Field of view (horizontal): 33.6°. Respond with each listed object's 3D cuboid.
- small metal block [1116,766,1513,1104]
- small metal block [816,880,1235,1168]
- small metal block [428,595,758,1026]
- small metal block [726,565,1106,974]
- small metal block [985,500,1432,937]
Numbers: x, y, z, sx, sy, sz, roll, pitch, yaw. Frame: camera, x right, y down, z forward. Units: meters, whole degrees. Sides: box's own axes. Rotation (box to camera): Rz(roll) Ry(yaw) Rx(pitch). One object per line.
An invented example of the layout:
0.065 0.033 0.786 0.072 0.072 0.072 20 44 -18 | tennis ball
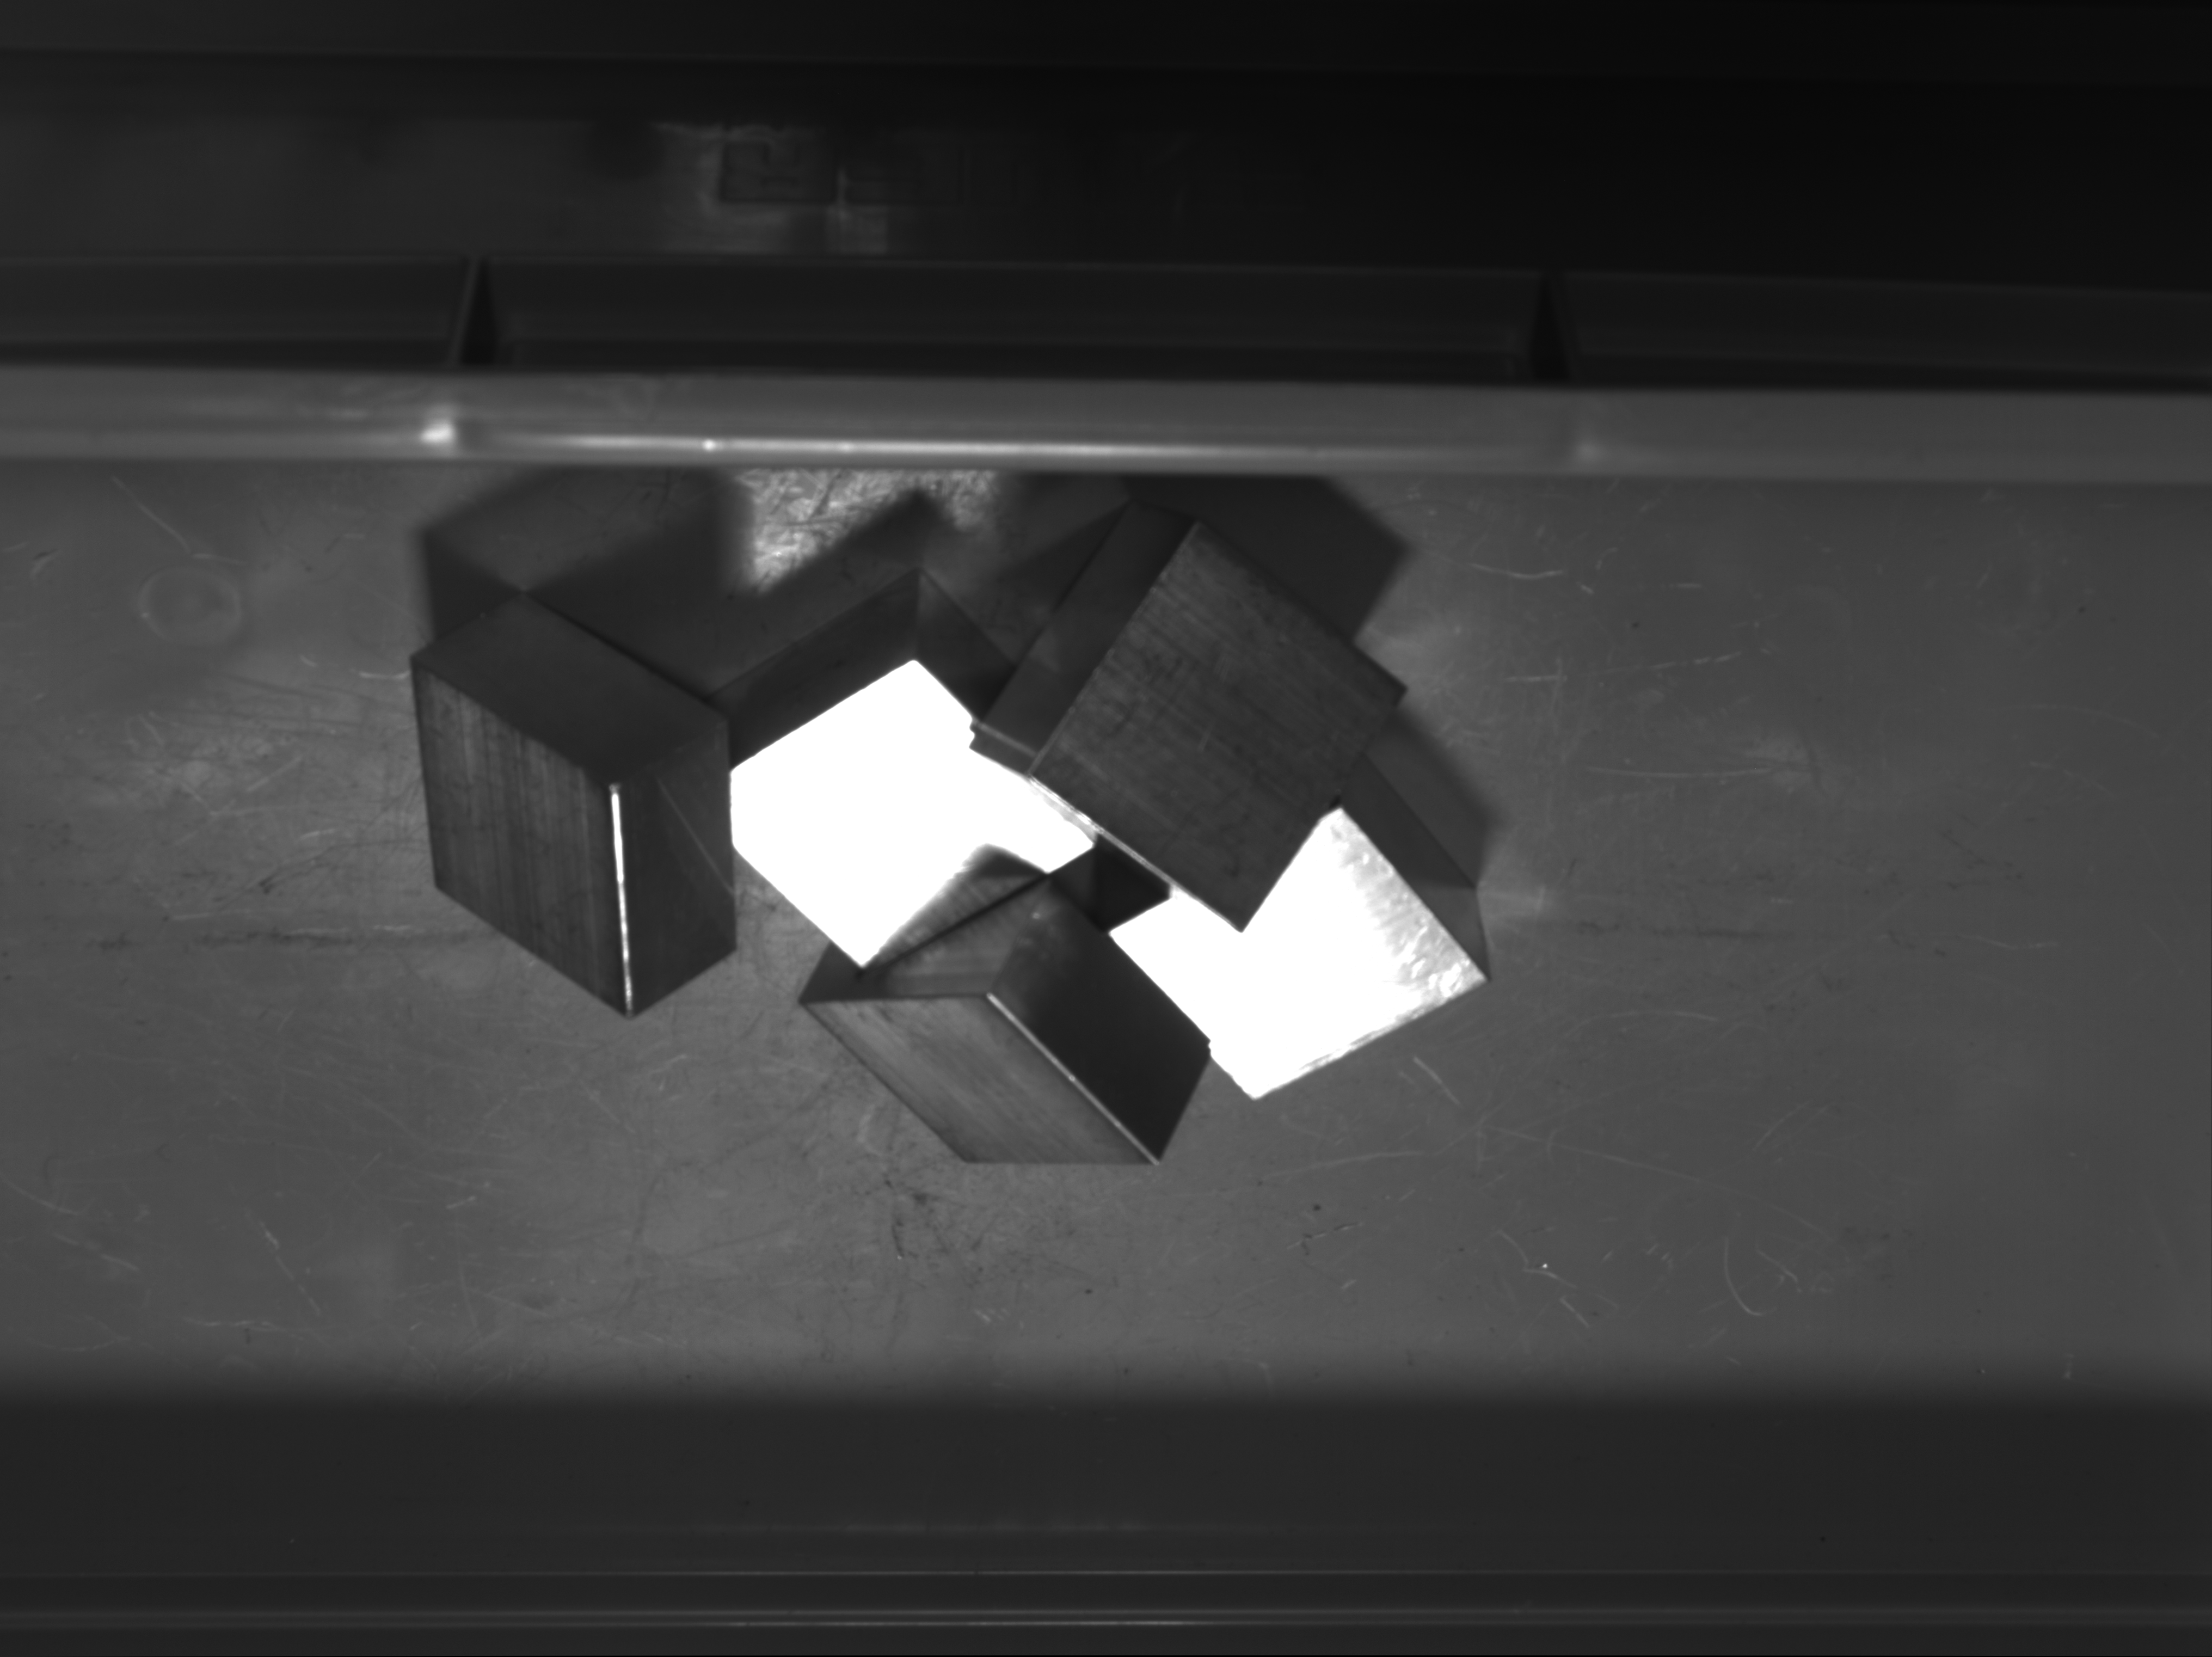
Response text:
0.037 0.015 0.650 0.050 0.025 0.050 -29 125 21 | small metal block
-0.014 0.035 0.651 0.050 0.025 0.050 -5 138 45 | small metal block
-0.086 -0.003 0.613 0.050 0.025 0.050 31 137 30 | small metal block
-0.033 -0.009 0.628 0.050 0.025 0.050 -30 125 22 | small metal block
0.017 -0.018 0.607 0.050 0.025 0.050 36 85 -28 | small metal block
